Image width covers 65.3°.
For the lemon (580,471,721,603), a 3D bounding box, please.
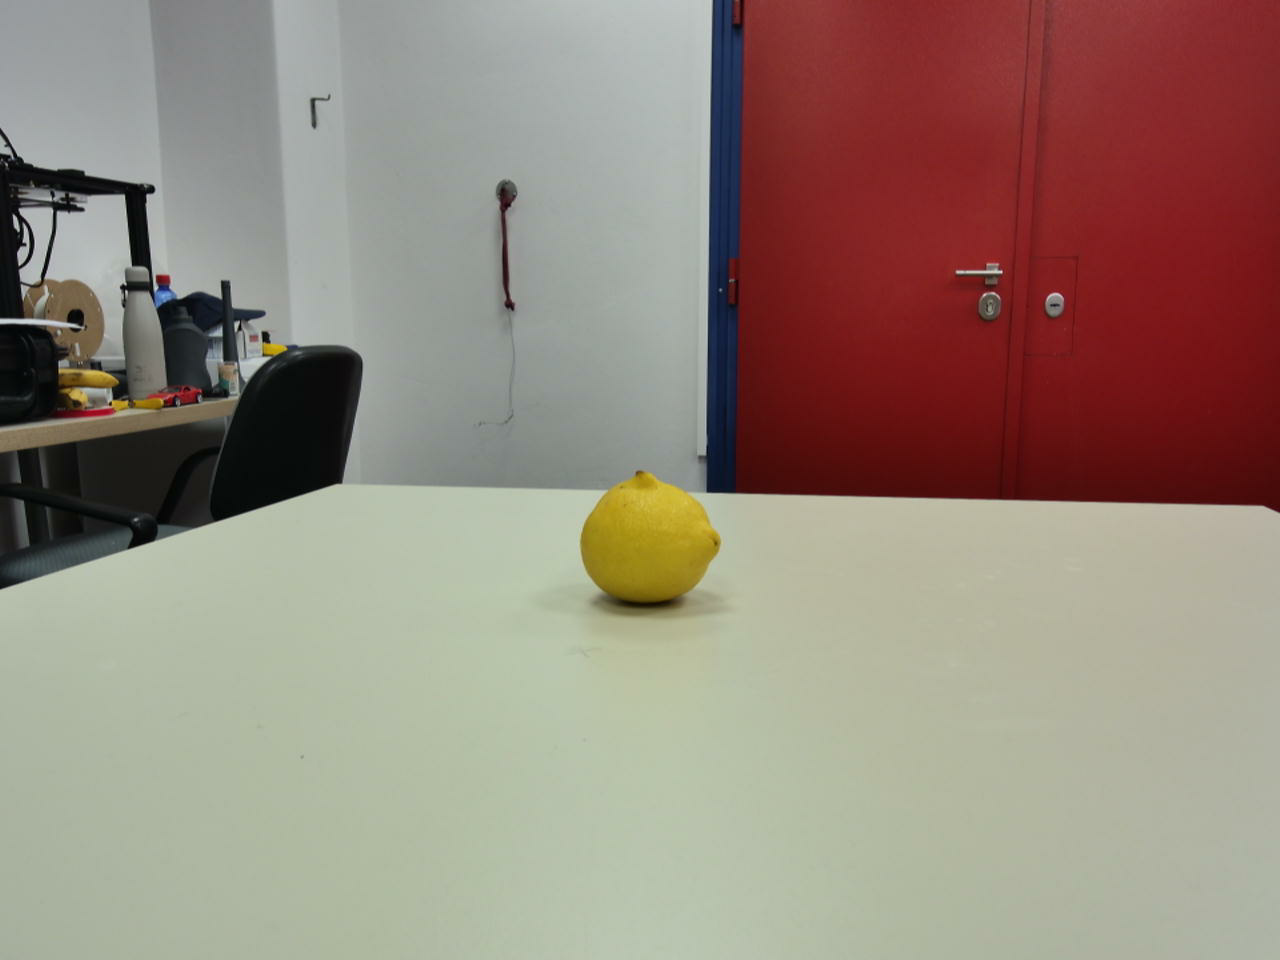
[{"bbox_3d":[0.004,0.031,0.543,0.070,0.071,0.071,-3,7,-22],"label":"lemon"}]
